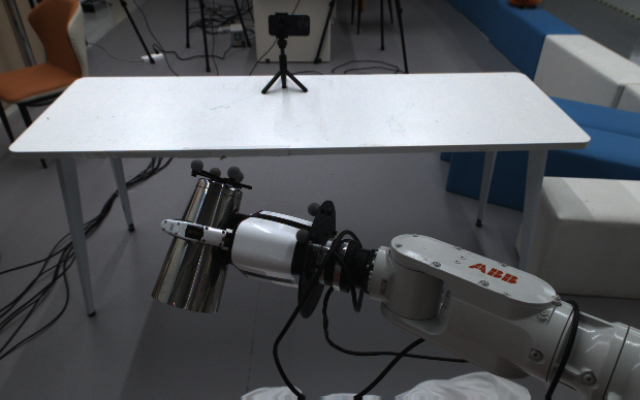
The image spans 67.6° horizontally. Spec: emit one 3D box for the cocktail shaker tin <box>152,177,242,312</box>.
[{"bbox_3d":[-0.164,0.062,0.673,0.093,0.170,0.093,15,-6,2],"label":"cocktail shaker tin"}]
